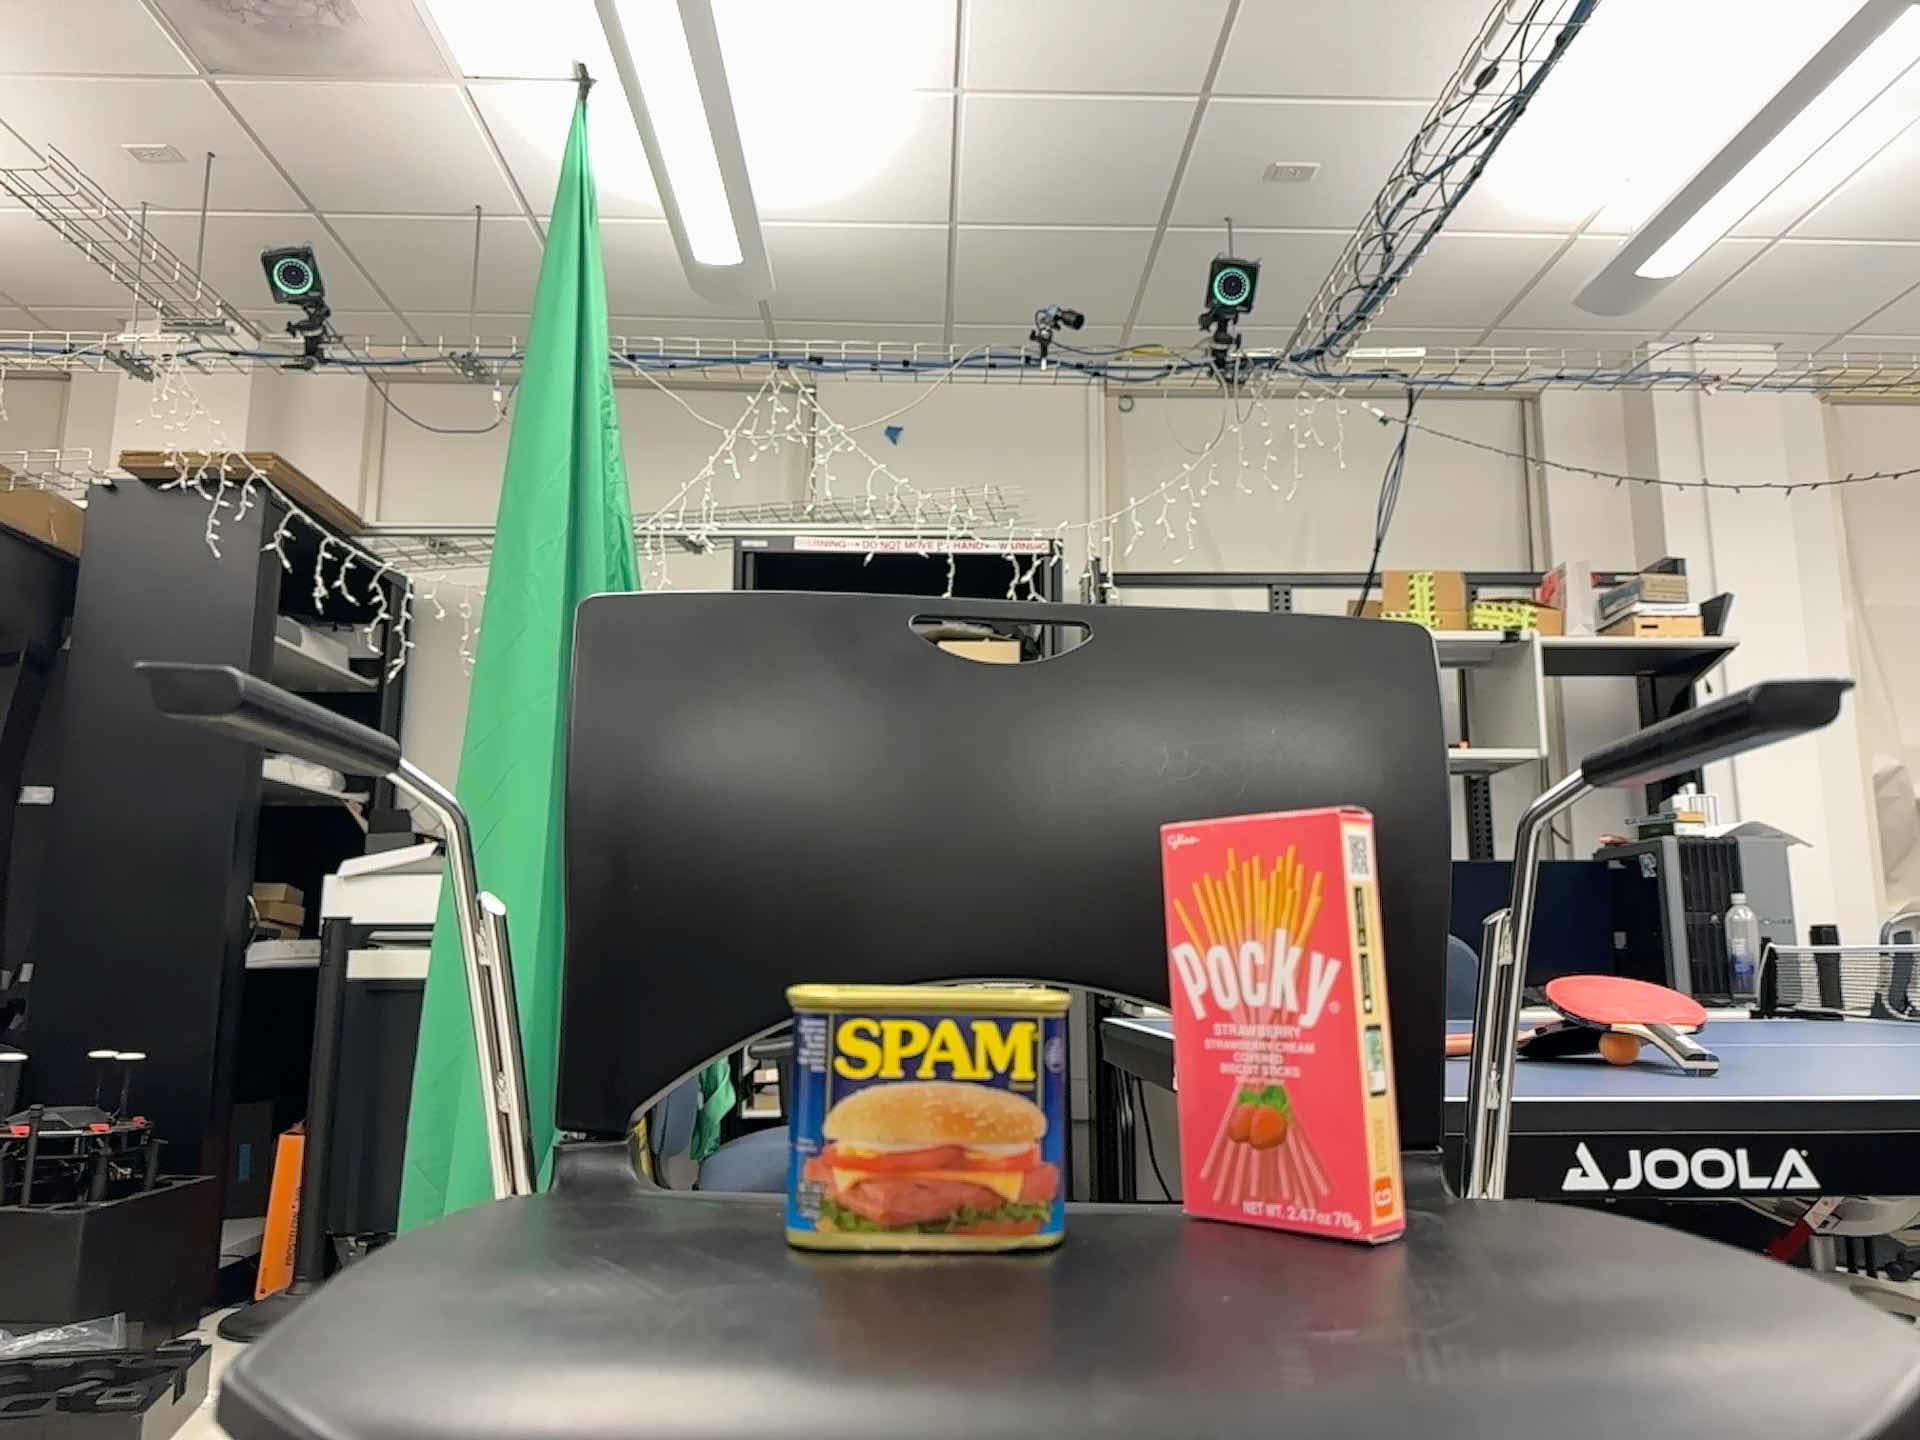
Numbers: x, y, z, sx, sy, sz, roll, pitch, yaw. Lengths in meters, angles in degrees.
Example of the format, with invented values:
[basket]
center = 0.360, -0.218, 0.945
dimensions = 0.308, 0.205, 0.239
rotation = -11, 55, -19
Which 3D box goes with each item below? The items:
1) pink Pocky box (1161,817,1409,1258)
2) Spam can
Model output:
[pink Pocky box]
center = 0.121, 0.118, 0.514
dimensions = 0.029, 0.154, 0.084
rotation = 8, -14, -43
[Spam can]
center = -0.016, 0.142, 0.485
dimensions = 0.100, 0.083, 0.056
rotation = 1, -10, 3
